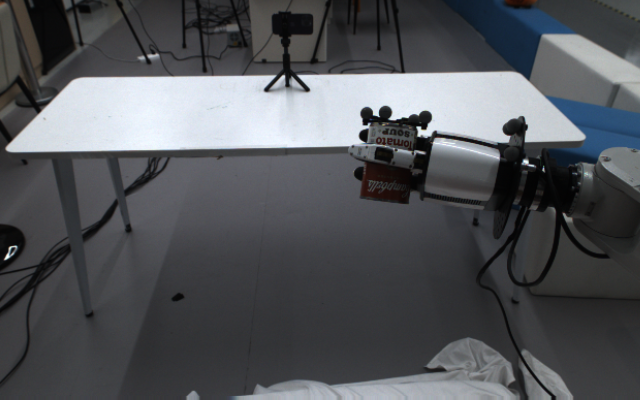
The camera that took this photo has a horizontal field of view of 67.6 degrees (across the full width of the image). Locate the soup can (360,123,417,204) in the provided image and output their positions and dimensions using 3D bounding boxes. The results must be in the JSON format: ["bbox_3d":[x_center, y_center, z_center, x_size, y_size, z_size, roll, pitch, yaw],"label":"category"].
[{"bbox_3d":[0.094,-0.049,0.653,0.067,0.101,0.067,7,3,0],"label":"soup can"}]
